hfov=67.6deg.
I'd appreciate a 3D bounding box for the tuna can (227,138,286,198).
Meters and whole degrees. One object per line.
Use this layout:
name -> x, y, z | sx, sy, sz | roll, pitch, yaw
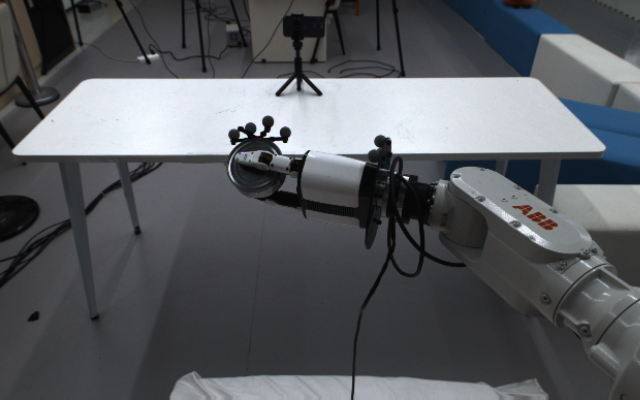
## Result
tuna can -> -0.089, -0.046, 0.719 | 0.085, 0.034, 0.085 | -2, 69, 6
